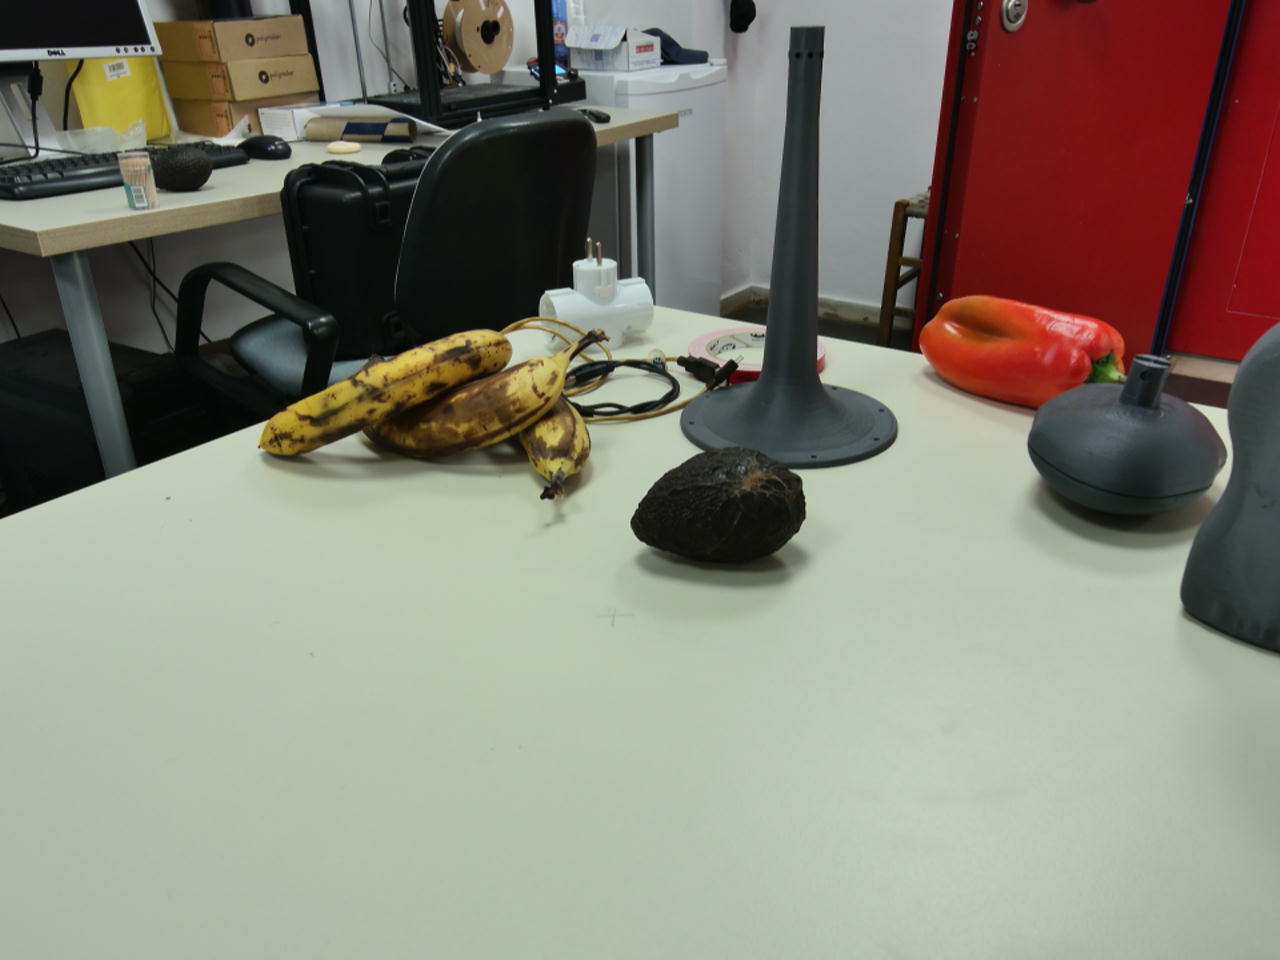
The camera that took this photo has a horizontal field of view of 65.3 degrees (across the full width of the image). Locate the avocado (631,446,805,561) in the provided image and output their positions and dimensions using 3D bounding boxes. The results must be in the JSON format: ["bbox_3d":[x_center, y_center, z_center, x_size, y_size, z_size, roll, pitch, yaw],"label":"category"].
[{"bbox_3d":[0.042,0.013,0.538,0.092,0.062,0.062,6,25,12],"label":"avocado"}]
